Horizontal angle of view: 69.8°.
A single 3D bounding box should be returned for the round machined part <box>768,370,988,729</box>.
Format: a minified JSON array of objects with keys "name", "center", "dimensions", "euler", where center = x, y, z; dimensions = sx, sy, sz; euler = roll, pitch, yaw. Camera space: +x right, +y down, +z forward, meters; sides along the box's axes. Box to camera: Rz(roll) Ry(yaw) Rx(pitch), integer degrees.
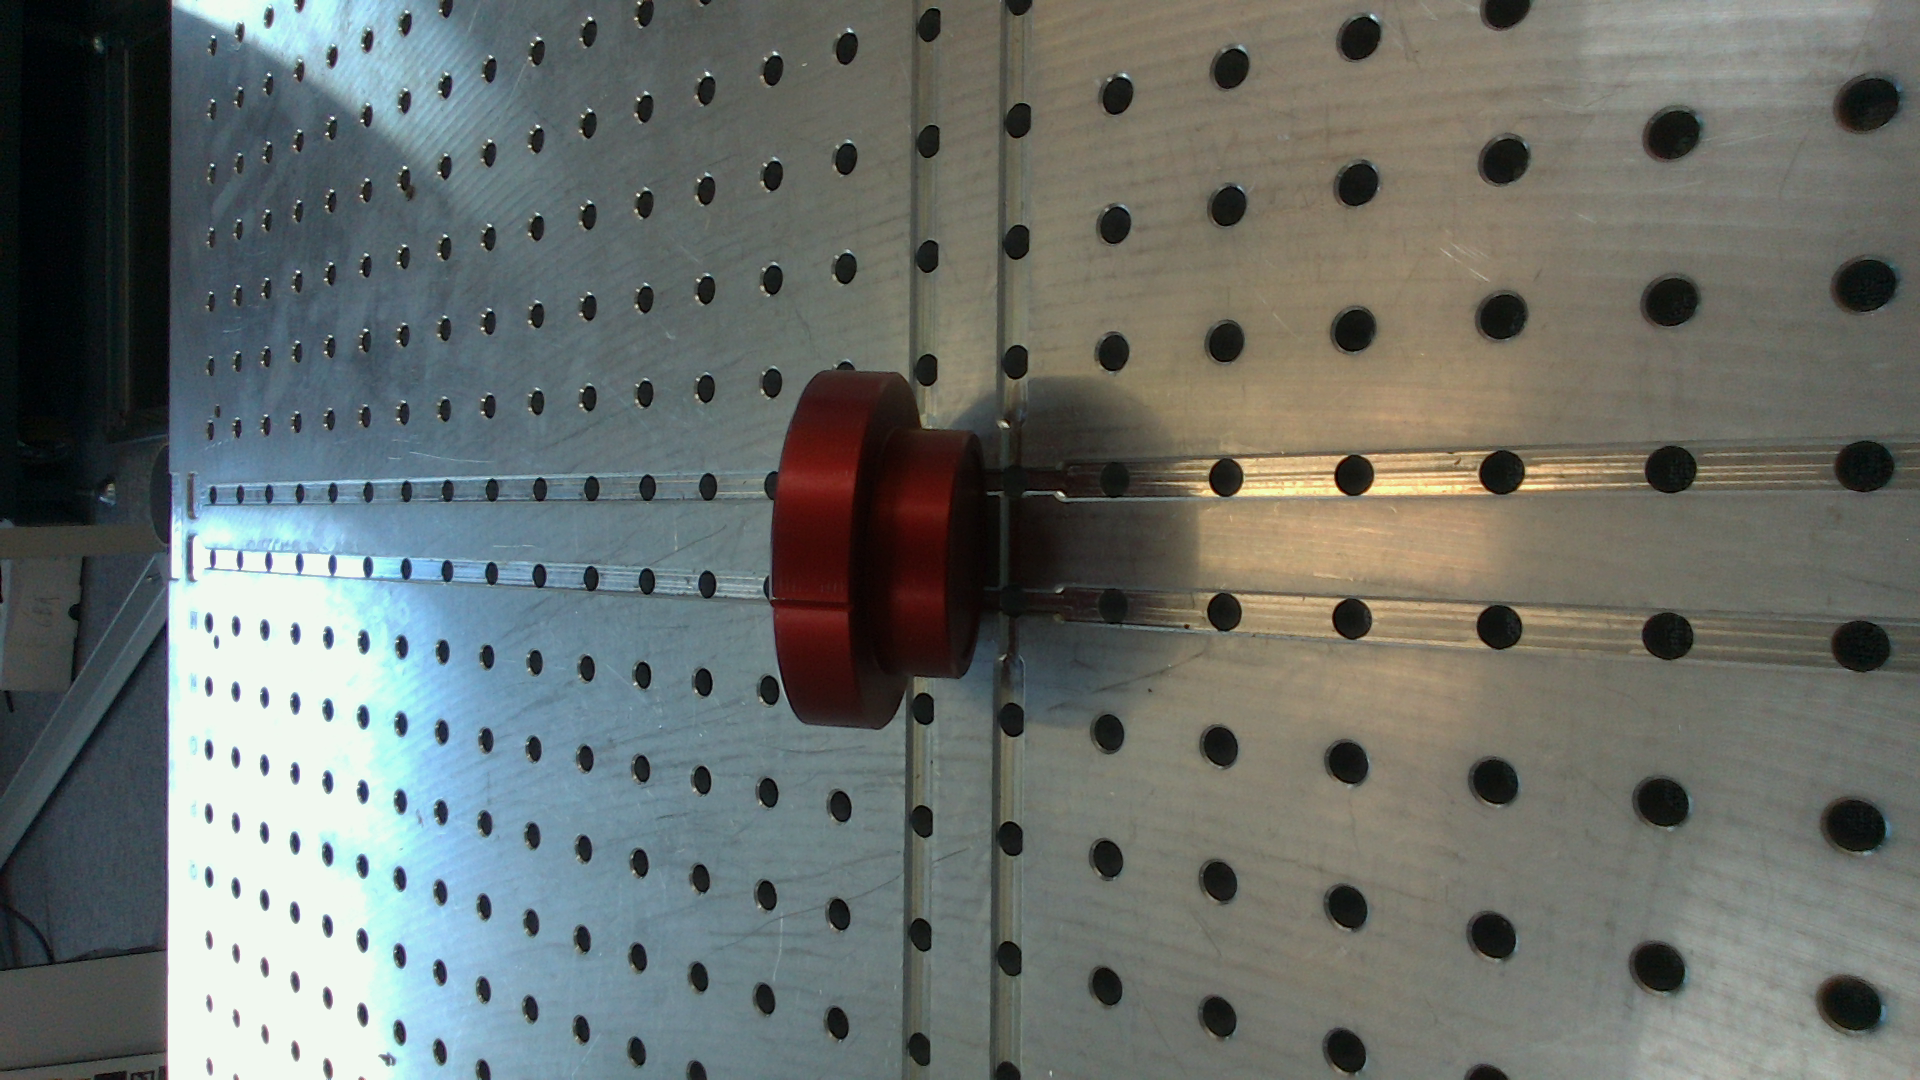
[{"name":"round machined part","center":[-0.018,0.003,0.378],"dimensions":[0.042,0.098,0.098],"euler":[3,92,9]}]
